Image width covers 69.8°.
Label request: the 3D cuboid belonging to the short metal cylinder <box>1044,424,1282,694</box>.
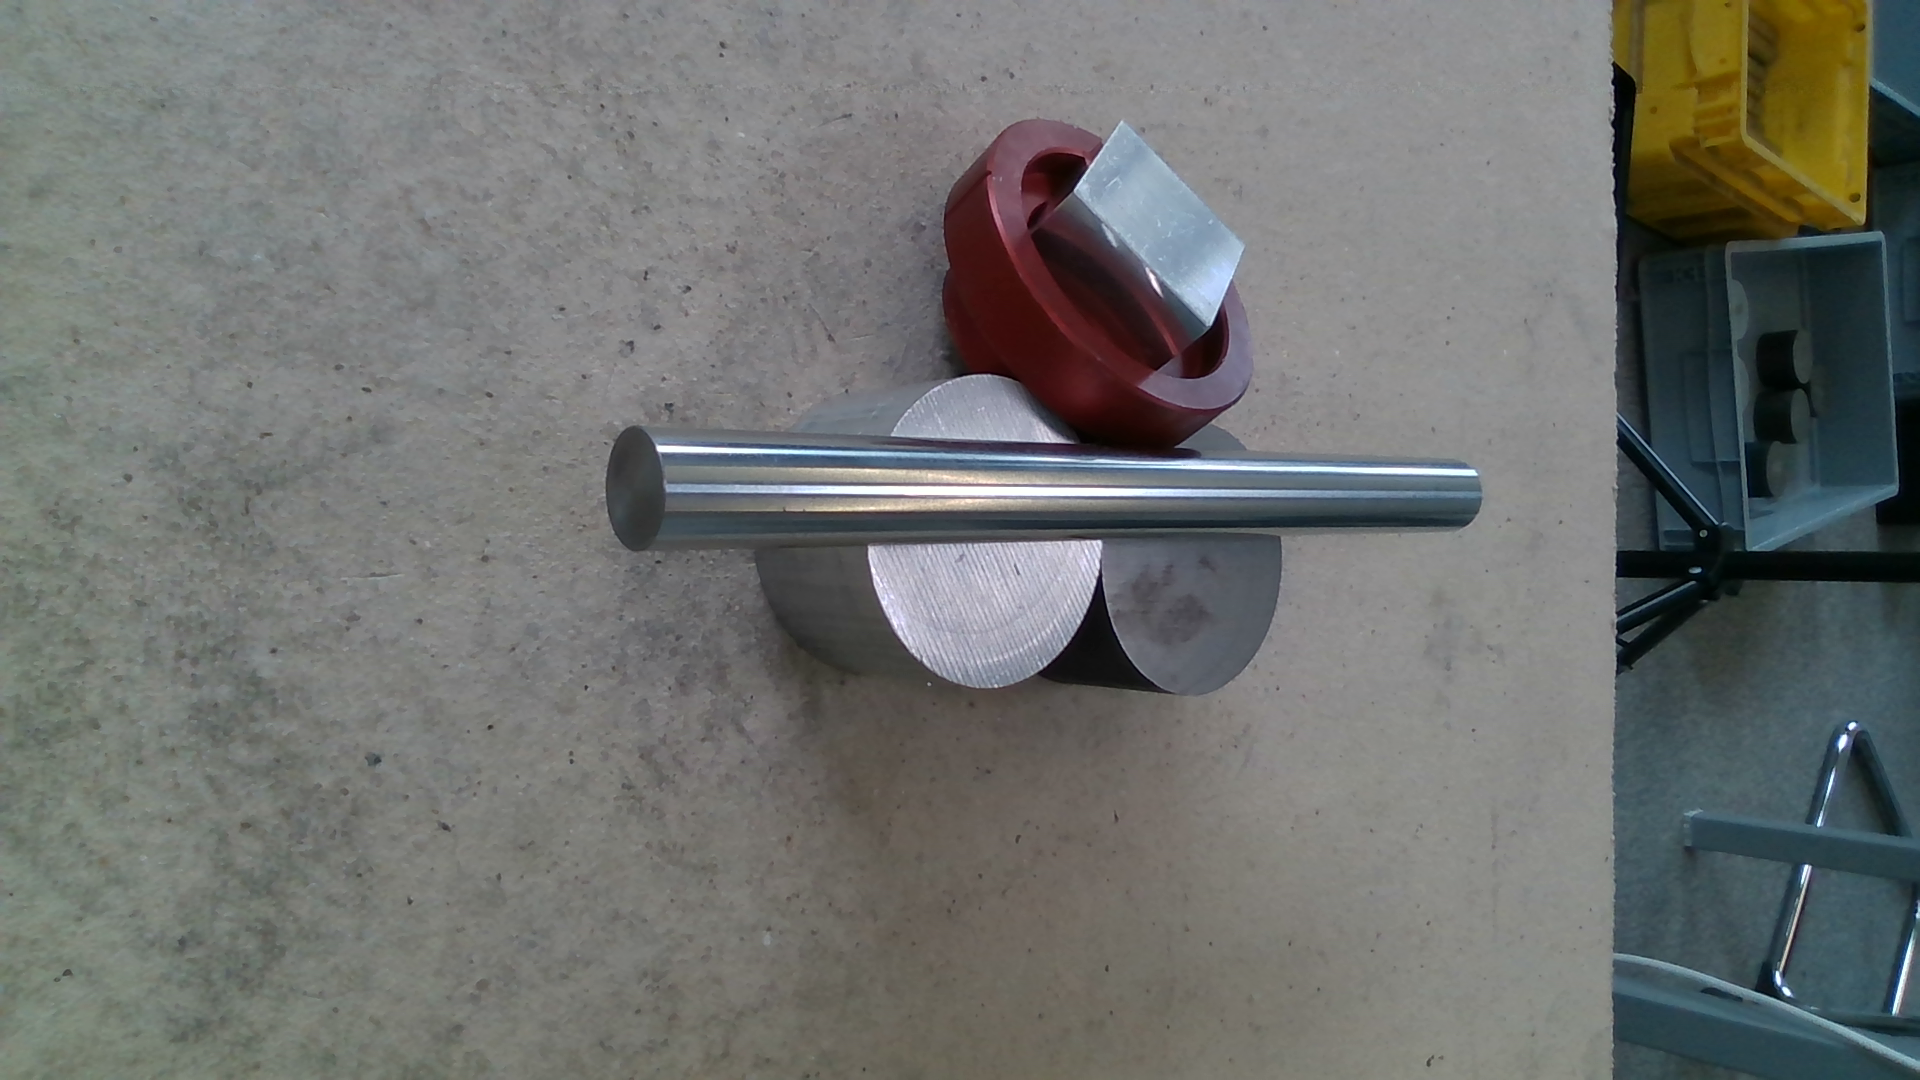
[{"bbox_3d":[0.053,0.005,0.420,0.080,0.050,0.080,0,90,-40],"label":"short metal cylinder"}]

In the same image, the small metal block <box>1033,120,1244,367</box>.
[{"bbox_3d":[0.047,-0.080,0.378,0.050,0.025,0.050,42,40,-11],"label":"small metal block"}]

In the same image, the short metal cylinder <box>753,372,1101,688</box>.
[{"bbox_3d":[-0.008,-0.002,0.368,0.080,0.050,0.080,0,90,-41],"label":"short metal cylinder"}]

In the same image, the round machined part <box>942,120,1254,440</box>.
[{"bbox_3d":[0.034,-0.067,0.392,0.098,0.042,0.098,24,47,-28],"label":"round machined part"}]

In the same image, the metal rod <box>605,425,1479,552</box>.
[{"bbox_3d":[0.050,-0.013,0.369,0.300,0.025,0.025,-1,91,-40],"label":"metal rod"}]
